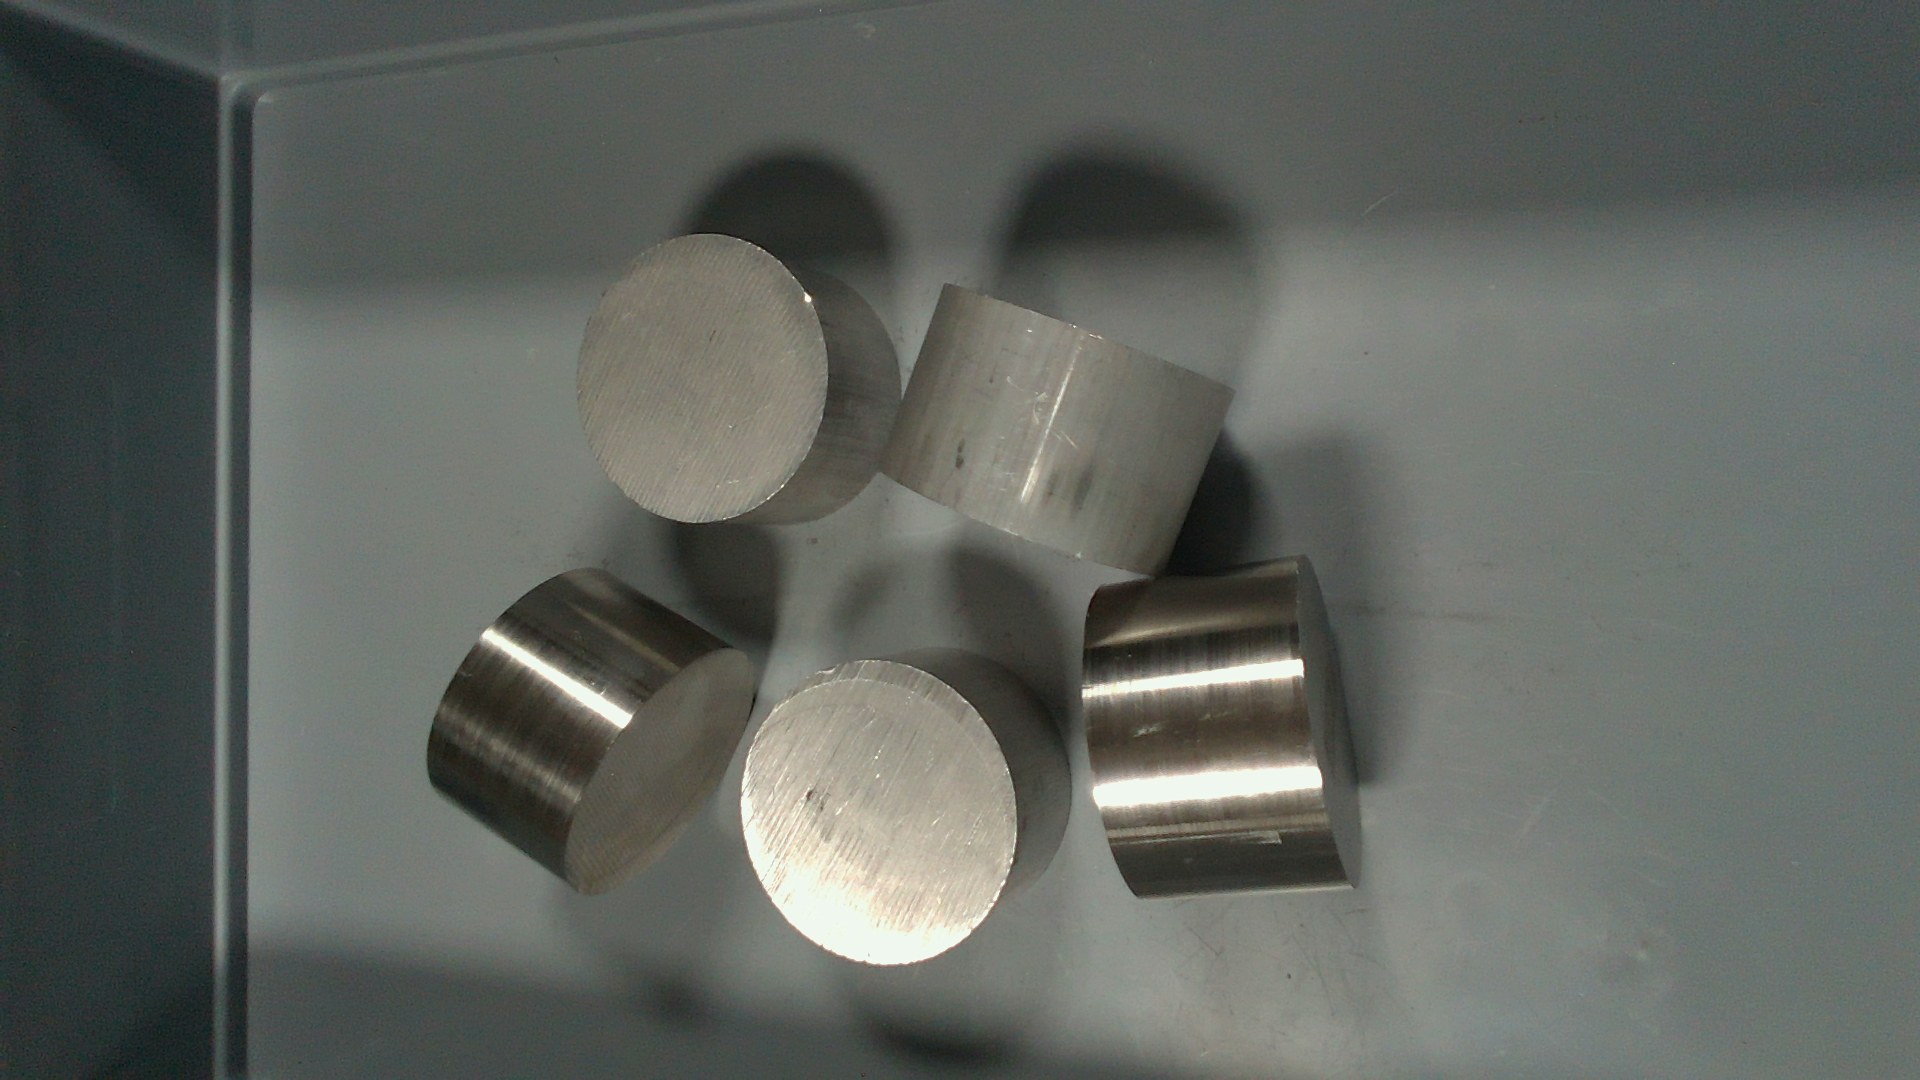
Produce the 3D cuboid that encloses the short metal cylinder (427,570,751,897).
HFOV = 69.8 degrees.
[{"bbox_3d":[-0.106,0.056,0.403,0.050,0.080,0.080,28,99,18],"label":"short metal cylinder"}]

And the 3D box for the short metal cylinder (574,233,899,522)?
[{"bbox_3d":[-0.064,-0.045,0.404,0.080,0.050,0.080,0,90,20],"label":"short metal cylinder"}]

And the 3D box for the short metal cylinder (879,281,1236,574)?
[{"bbox_3d":[0.025,-0.029,0.358,0.080,0.080,0.050,23,98,19],"label":"short metal cylinder"}]

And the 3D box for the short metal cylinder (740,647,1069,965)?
[{"bbox_3d":[-0.014,0.072,0.386,0.080,0.050,0.080,0,90,20],"label":"short metal cylinder"}]

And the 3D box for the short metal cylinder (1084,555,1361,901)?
[{"bbox_3d":[0.067,0.047,0.341,0.050,0.080,0.080,-10,87,20],"label":"short metal cylinder"}]
